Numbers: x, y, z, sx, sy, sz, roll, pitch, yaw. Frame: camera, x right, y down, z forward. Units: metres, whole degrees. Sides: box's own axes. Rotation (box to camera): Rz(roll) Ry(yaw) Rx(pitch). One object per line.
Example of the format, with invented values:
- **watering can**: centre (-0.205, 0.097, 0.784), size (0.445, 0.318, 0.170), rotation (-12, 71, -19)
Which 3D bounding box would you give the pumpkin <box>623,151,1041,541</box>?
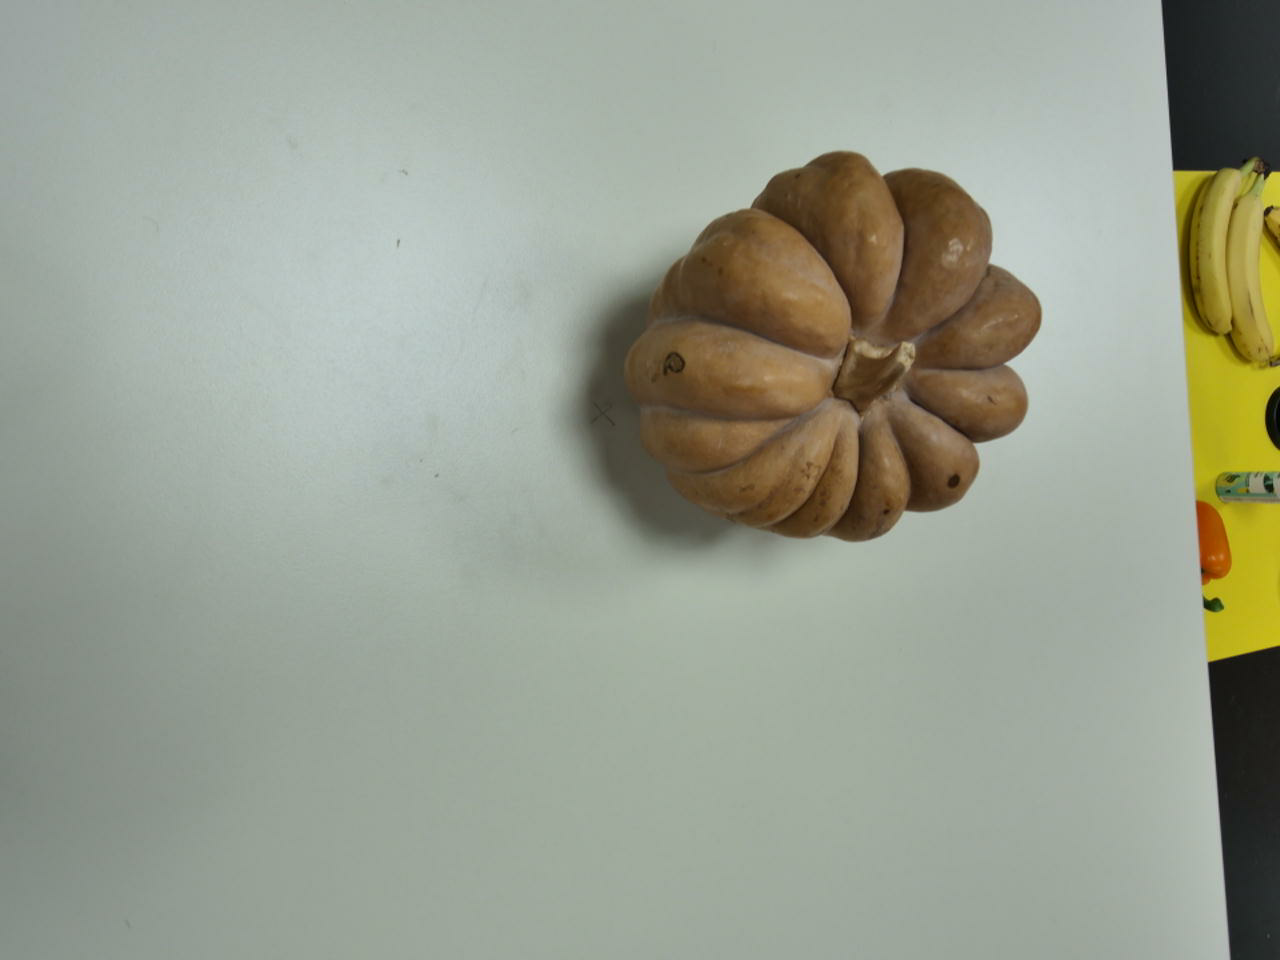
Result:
- **pumpkin**: centre (0.091, -0.062, 0.514), size (0.198, 0.177, 0.198), rotation (0, 91, -22)
